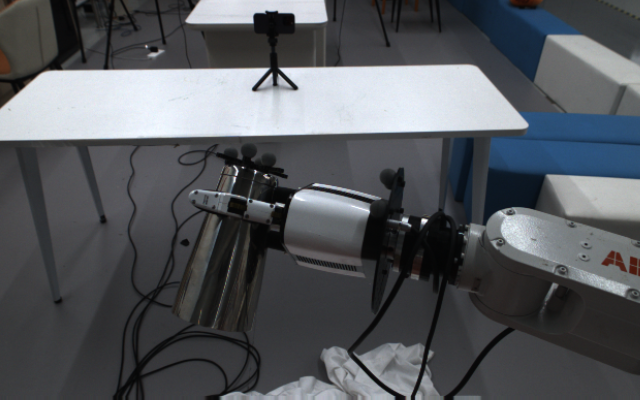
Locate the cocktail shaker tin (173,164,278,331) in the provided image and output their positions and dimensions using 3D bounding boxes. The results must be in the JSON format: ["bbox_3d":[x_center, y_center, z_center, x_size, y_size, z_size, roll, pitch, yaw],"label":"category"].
[{"bbox_3d":[-0.099,0.052,0.549,0.093,0.170,0.093,14,-5,1],"label":"cocktail shaker tin"}]
